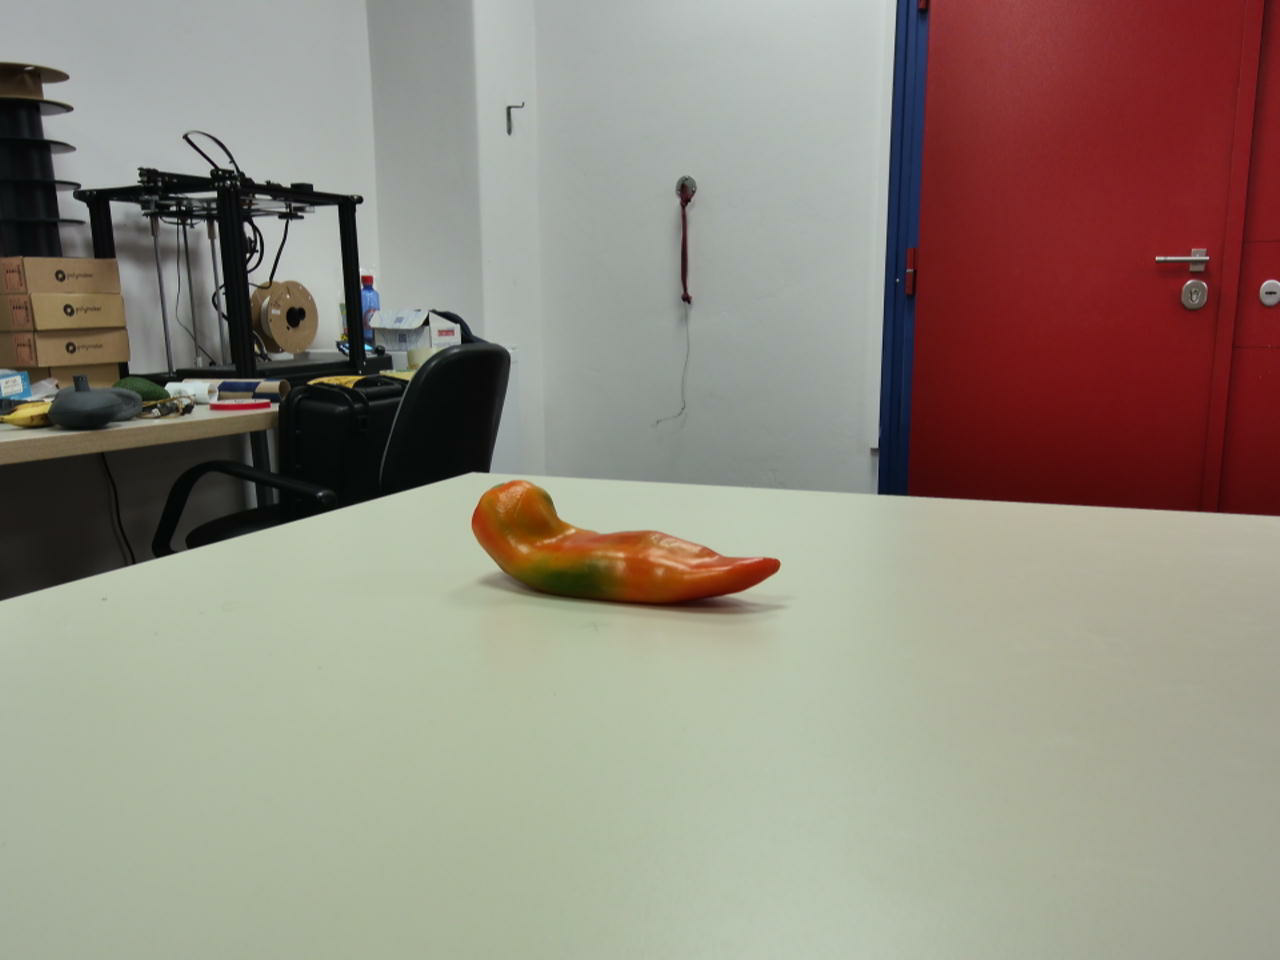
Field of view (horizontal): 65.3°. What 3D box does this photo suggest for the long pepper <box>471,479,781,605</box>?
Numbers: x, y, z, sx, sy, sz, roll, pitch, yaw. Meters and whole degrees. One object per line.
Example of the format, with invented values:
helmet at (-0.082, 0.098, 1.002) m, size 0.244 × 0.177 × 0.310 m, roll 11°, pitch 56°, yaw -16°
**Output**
long pepper at (-0.014, 0.037, 0.599) m, size 0.199 × 0.065 × 0.066 m, roll 4°, pitch 8°, yaw 28°
